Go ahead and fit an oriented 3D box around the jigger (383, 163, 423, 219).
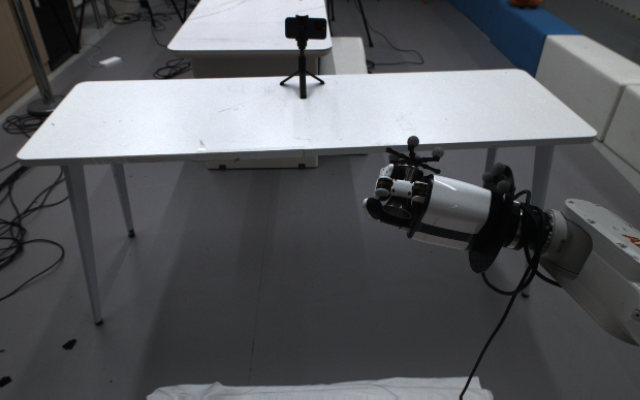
[{"bbox_3d":[0.122,-0.014,0.699,0.043,0.043,0.071,15,70,18],"label":"jigger"}]
